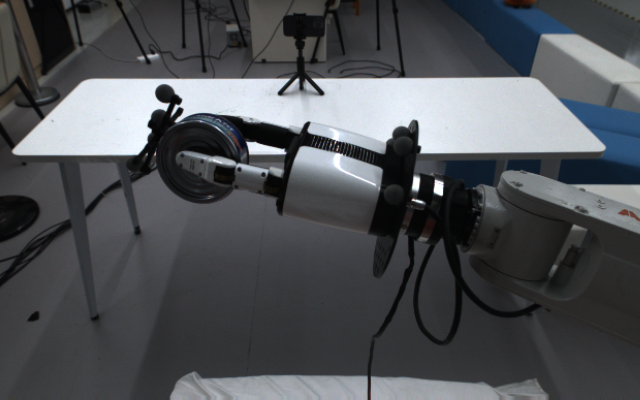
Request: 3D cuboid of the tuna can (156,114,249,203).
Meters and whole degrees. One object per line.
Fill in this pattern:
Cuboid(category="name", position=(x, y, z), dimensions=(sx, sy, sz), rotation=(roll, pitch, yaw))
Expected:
Cuboid(category="tuna can", position=(-0.111, -0.037, 0.477), dimensions=(0.085, 0.085, 0.034), rotation=(3, 21, 2))
